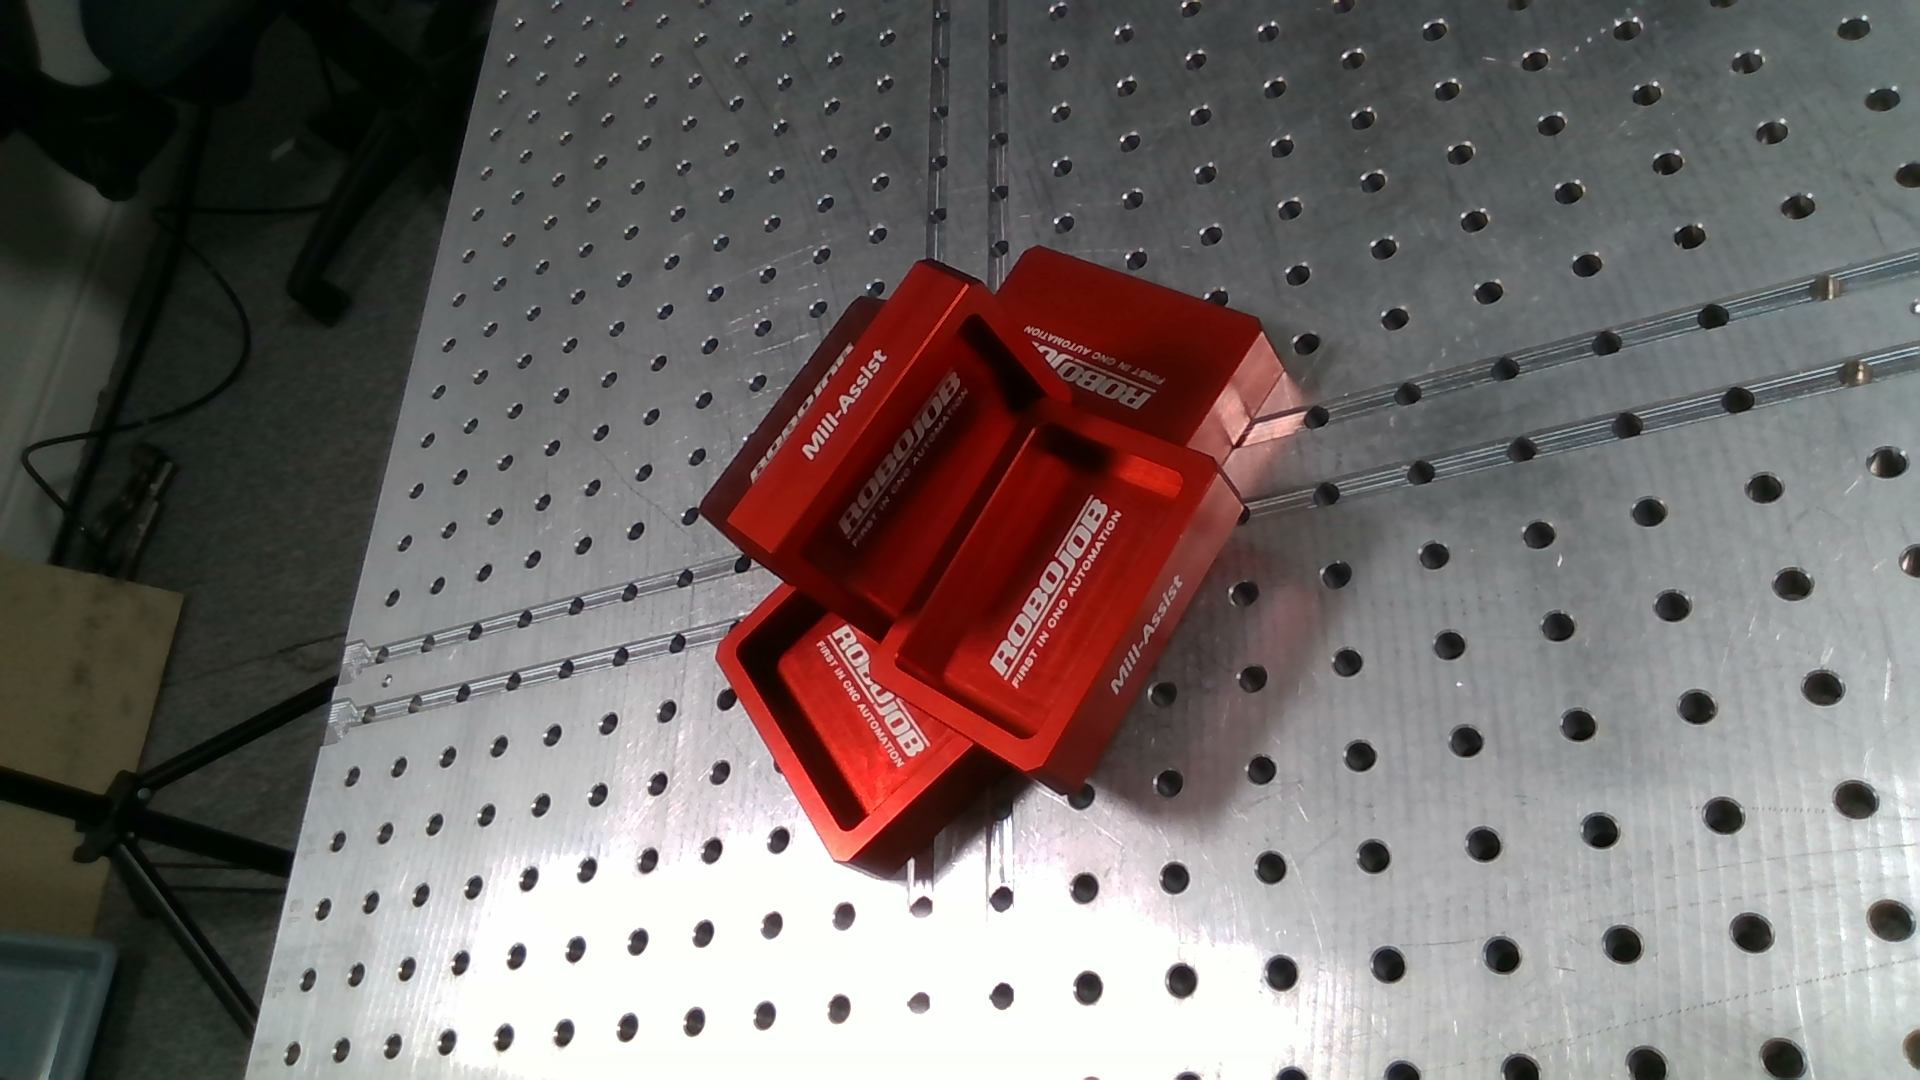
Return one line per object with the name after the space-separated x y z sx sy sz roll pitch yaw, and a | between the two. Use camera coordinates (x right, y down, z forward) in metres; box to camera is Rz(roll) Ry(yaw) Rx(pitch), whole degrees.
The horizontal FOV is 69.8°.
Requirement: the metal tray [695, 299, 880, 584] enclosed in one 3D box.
-0.061 -0.048 0.625 0.130 0.030 0.090 -54 26 -4 | metal tray

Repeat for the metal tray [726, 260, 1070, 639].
-0.021 -0.031 0.536 0.030 0.090 0.130 32 84 39 | metal tray

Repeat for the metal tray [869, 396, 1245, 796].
0.035 0.018 0.515 0.090 0.030 0.130 26 81 38 | metal tray

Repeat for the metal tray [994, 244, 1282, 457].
0.058 -0.067 0.584 0.130 0.030 0.090 29 82 38 | metal tray

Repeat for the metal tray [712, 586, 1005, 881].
-0.040 0.064 0.575 0.090 0.030 0.130 -43 51 5 | metal tray
